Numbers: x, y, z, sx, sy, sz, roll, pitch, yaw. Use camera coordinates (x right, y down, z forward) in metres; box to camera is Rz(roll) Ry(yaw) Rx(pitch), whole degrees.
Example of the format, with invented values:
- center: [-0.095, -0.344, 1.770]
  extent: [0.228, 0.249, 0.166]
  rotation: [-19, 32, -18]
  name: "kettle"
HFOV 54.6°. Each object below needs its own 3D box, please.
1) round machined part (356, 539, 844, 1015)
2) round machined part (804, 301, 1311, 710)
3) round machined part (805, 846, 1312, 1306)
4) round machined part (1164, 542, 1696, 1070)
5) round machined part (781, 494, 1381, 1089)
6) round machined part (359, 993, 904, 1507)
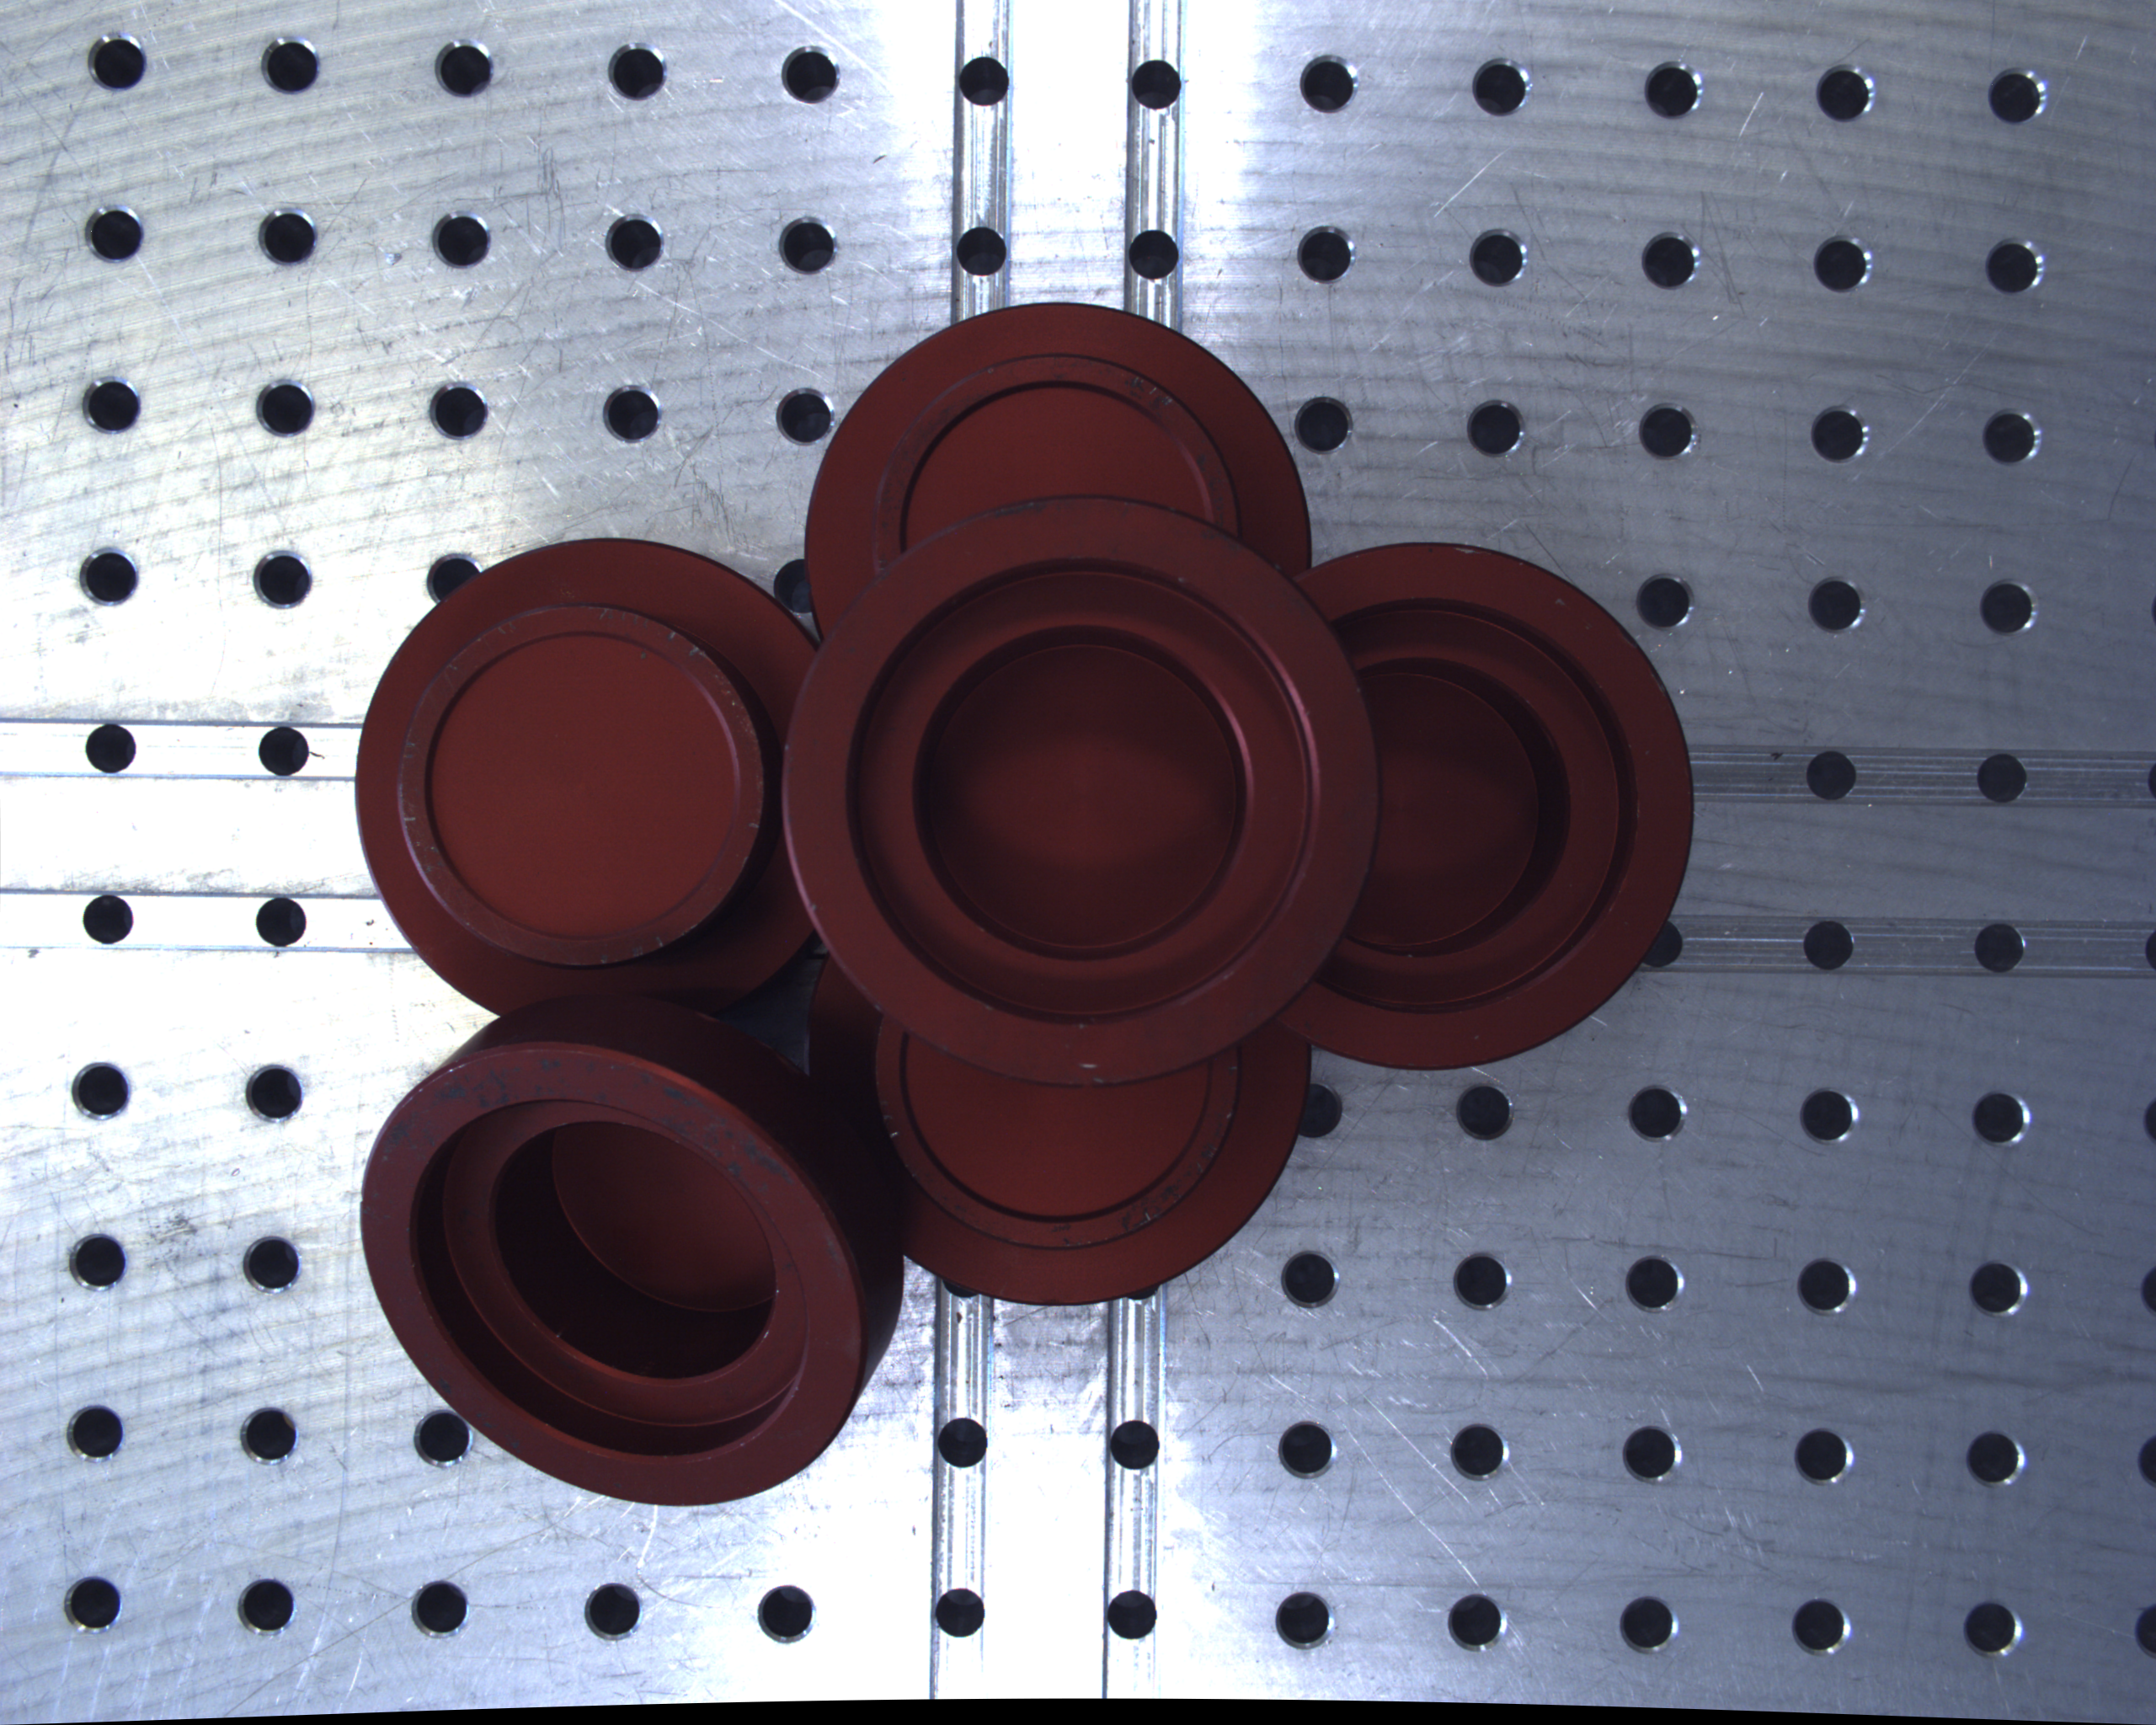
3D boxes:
- center: [-0.091, -0.014, 0.404]
  extent: [0.099, 0.042, 0.097]
  rotation: [0, 90, 0]
  name: "round machined part"
- center: [-0.004, -0.060, 0.405]
  extent: [0.099, 0.042, 0.097]
  rotation: [0, 90, 0]
  name: "round machined part"
- center: [-0.004, 0.038, 0.404]
  extent: [0.099, 0.042, 0.097]
  rotation: [0, 90, 0]
  name: "round machined part"
- center: [0.065, -0.011, 0.405]
  extent: [0.099, 0.042, 0.097]
  rotation: [0, 90, 0]
  name: "round machined part"
- center: [0.001, -0.012, 0.362]
  extent: [0.099, 0.042, 0.097]
  rotation: [0, 90, 0]
  name: "round machined part"
- center: [-0.079, 0.068, 0.391]
  extent: [0.098, 0.042, 0.097]
  rotation: [5, 113, 13]
  name: "round machined part"
